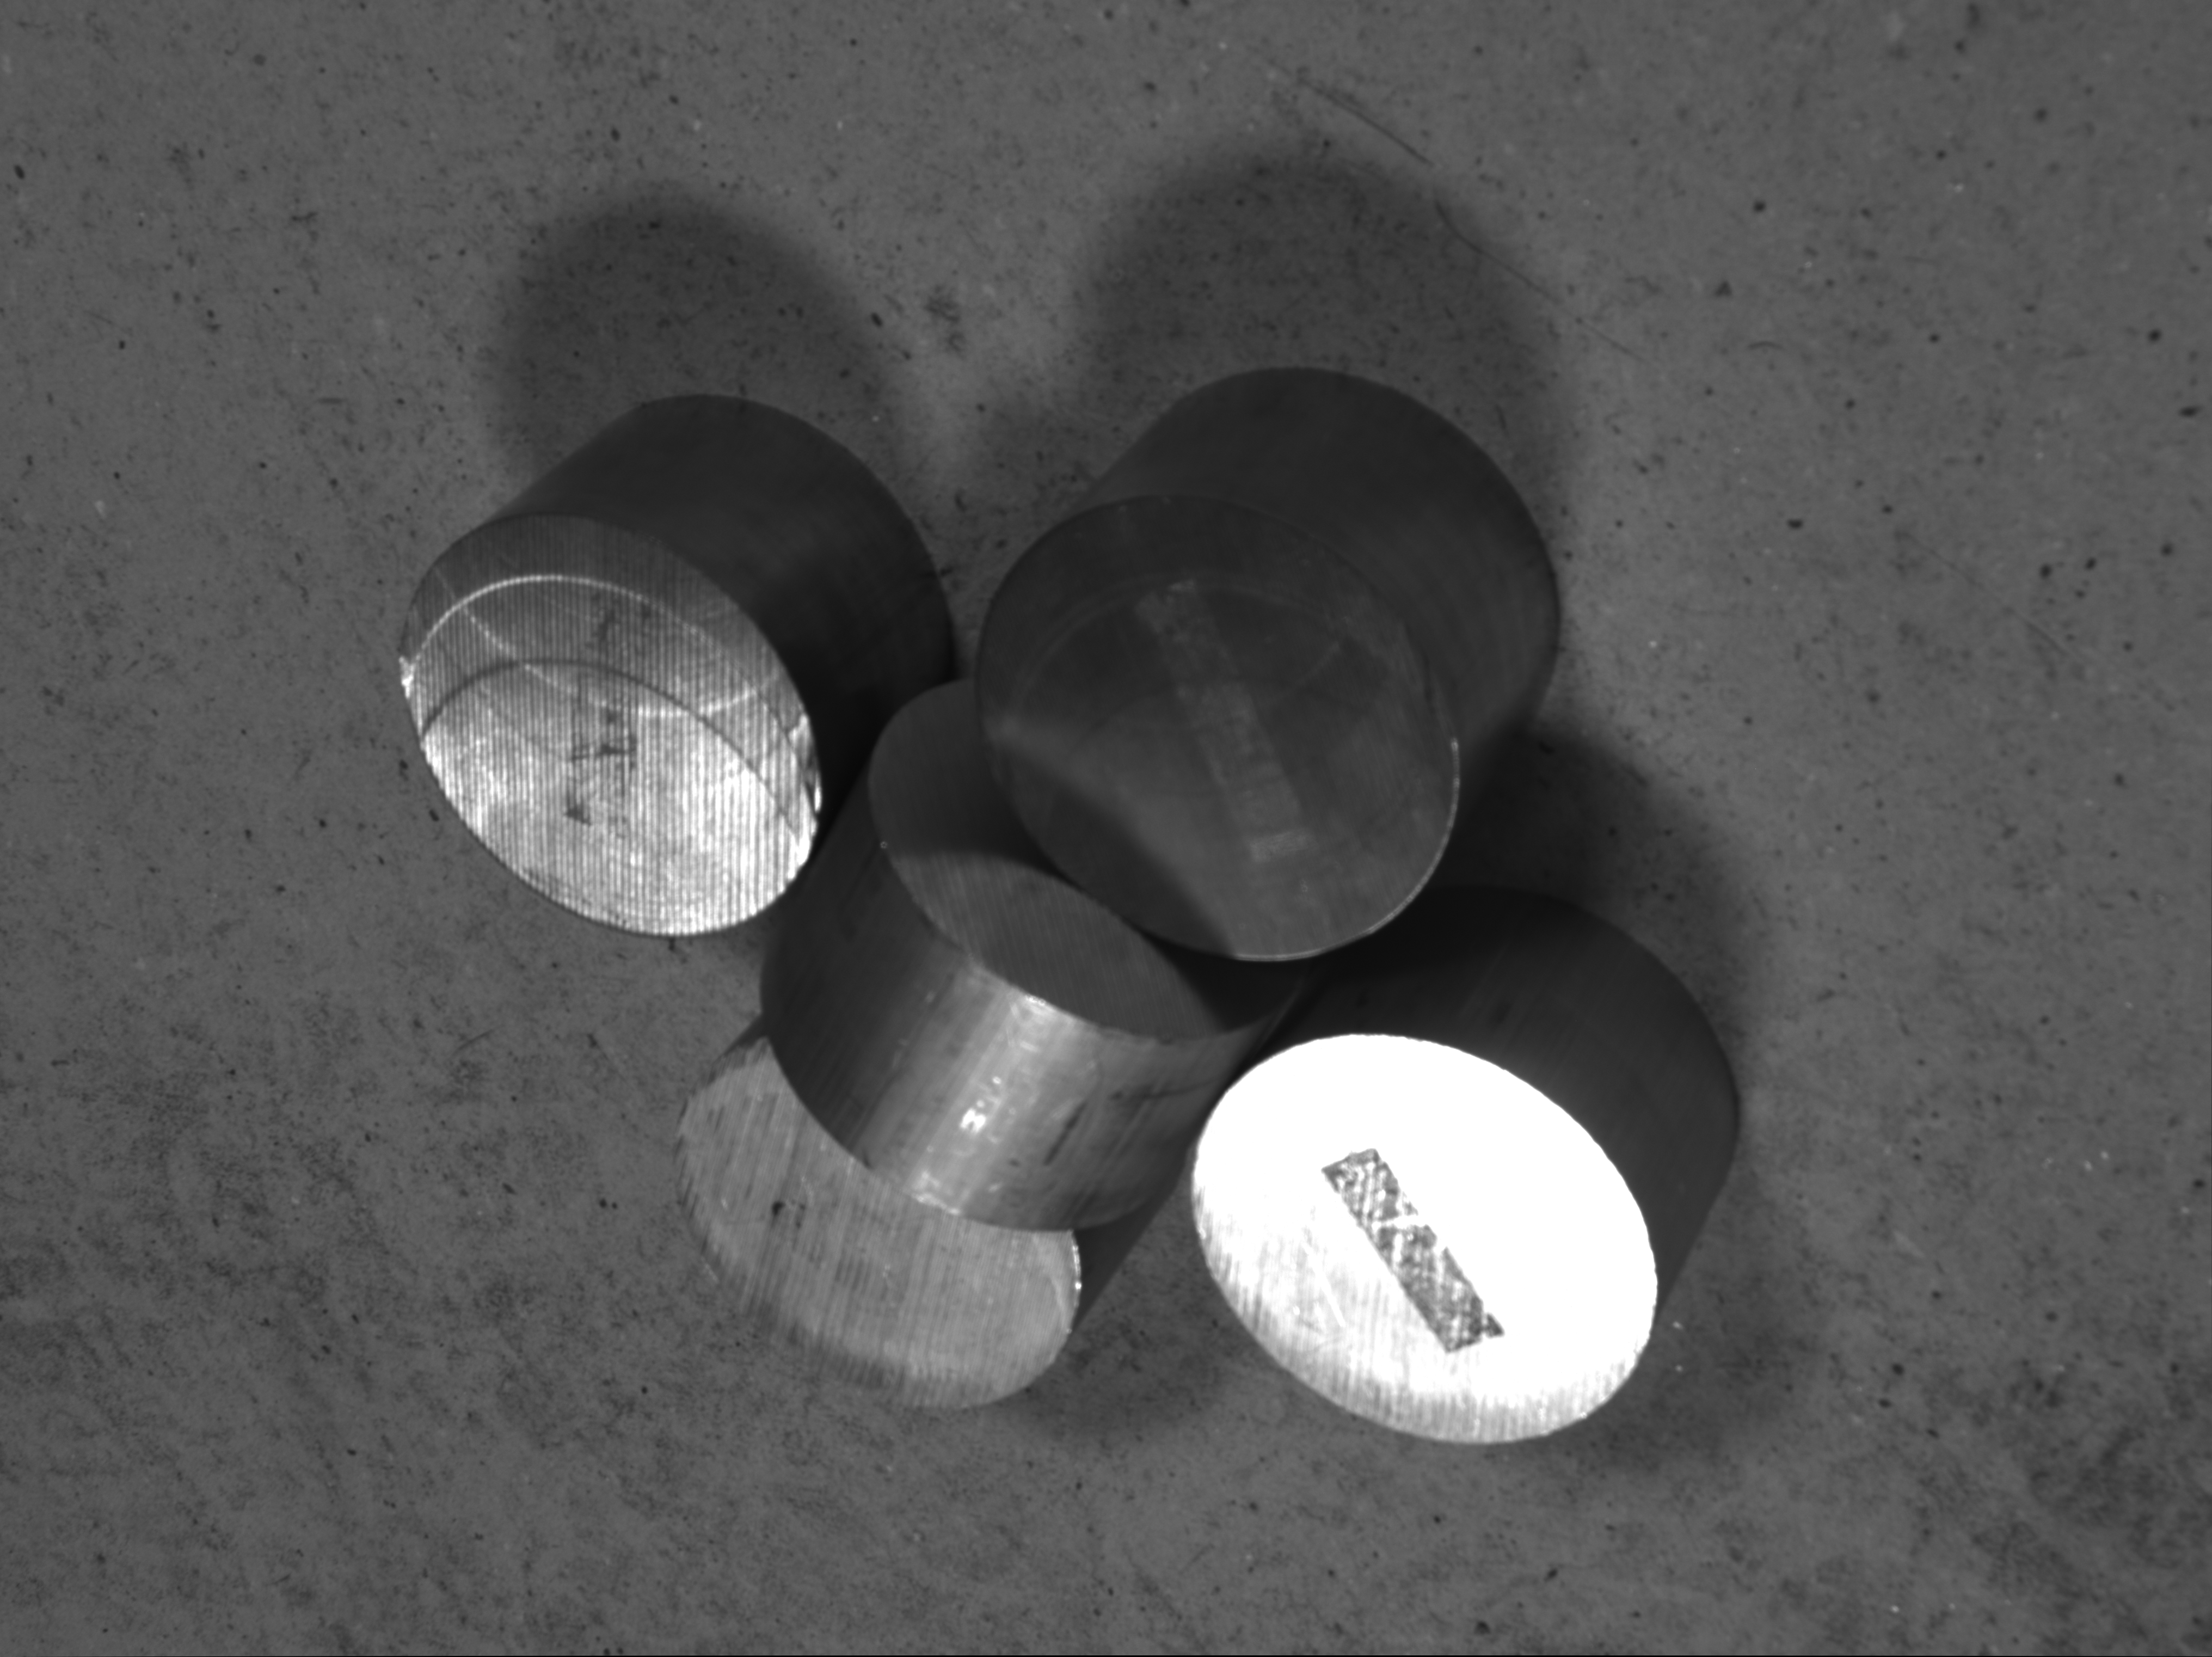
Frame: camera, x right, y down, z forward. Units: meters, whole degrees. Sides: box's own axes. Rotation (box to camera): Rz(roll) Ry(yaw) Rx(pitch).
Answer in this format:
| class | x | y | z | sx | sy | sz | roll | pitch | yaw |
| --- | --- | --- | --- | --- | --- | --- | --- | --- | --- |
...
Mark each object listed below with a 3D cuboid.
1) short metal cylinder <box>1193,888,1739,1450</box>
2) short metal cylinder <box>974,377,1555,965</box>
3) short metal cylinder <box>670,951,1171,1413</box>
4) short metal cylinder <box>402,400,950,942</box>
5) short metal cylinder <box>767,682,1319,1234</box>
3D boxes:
| class | x | y | z | sx | sy | sz | roll | pitch | yaw |
| --- | --- | --- | --- | --- | --- | --- | --- | --- | --- |
| short metal cylinder | 0.061 | 0.057 | 0.618 | 0.080 | 0.050 | 0.080 | 12 | 123 | 20 |
| short metal cylinder | 0.026 | -0.025 | 0.585 | 0.080 | 0.050 | 0.080 | 12 | 123 | 20 |
| short metal cylinder | -0.032 | 0.058 | 0.665 | 0.080 | 0.050 | 0.080 | 12 | 123 | 20 |
| short metal cylinder | -0.074 | -0.028 | 0.635 | 0.080 | 0.050 | 0.080 | 12 | 123 | 20 |
| short metal cylinder | -0.011 | 0.021 | 0.614 | 0.080 | 0.080 | 0.050 | 34 | 128 | 4 |
